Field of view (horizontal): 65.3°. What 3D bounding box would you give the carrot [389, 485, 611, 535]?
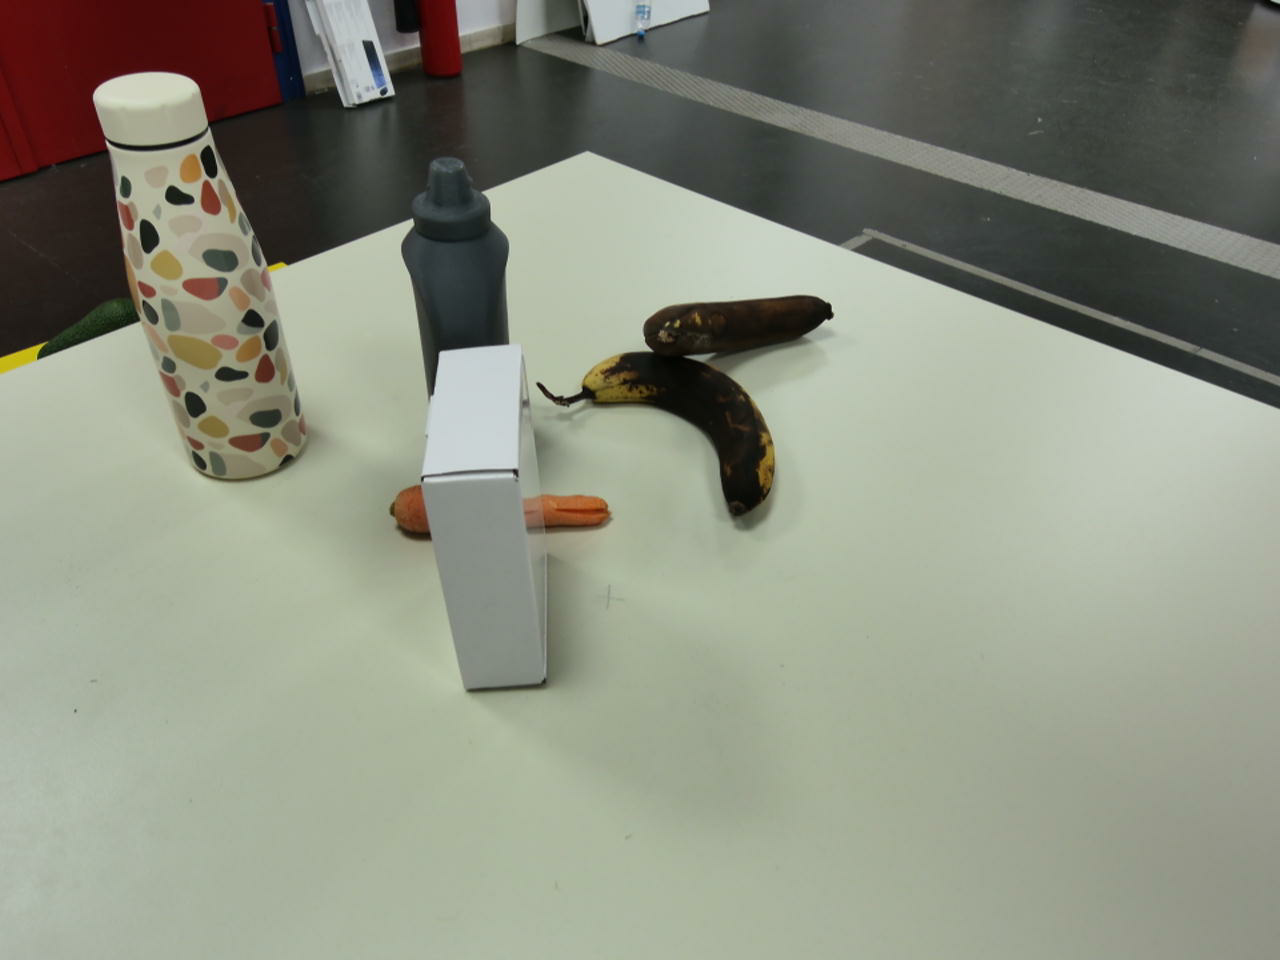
[{"bbox_3d":[-0.085,0.017,0.620,0.136,0.032,0.030,-1,38,-3],"label":"carrot"}]
